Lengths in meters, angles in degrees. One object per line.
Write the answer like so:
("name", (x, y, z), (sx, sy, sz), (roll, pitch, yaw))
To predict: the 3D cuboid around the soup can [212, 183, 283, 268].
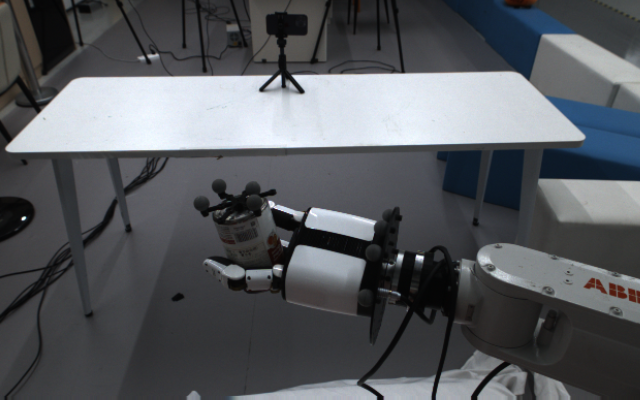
("soup can", (-0.080, 0.052, 0.574), (0.067, 0.101, 0.067), (-11, 27, 5))
